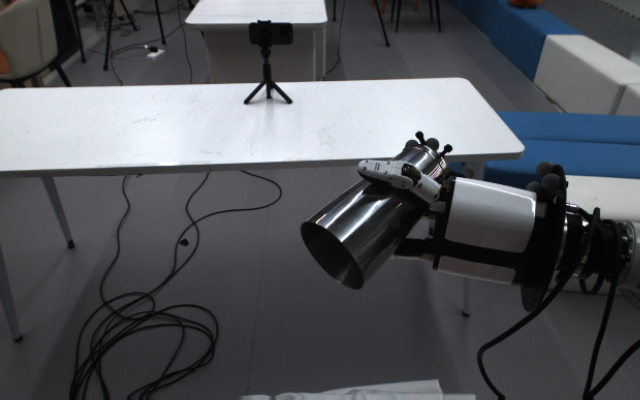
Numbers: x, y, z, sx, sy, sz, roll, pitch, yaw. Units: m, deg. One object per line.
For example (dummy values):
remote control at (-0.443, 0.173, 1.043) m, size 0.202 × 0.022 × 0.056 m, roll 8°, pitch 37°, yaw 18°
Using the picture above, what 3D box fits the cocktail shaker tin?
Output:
cocktail shaker tin at (0.071, 0.006, 0.545) m, size 0.170 × 0.093 × 0.093 m, roll -38°, pitch 49°, yaw -24°
